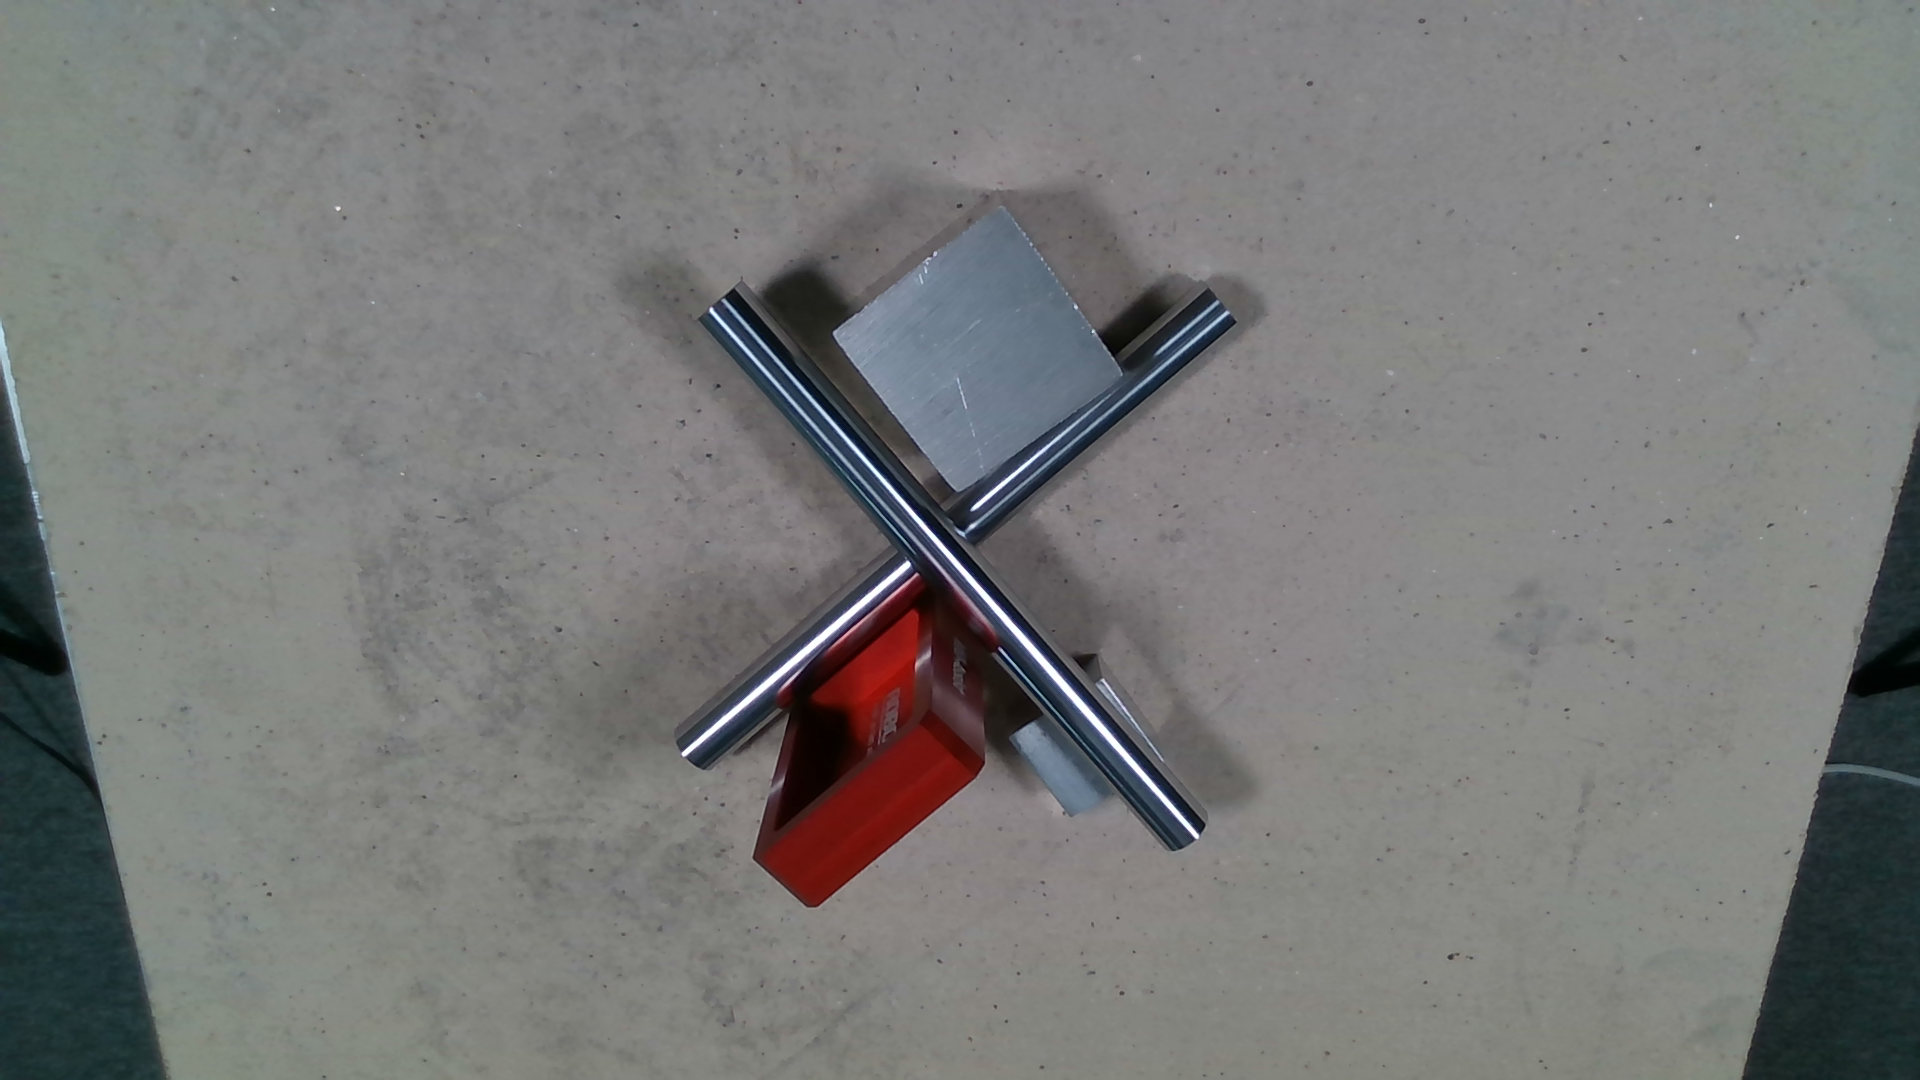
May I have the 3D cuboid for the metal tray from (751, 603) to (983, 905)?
[{"bbox_3d":[-0.034,0.078,0.557,0.090,0.130,0.030,-41,104,13],"label":"metal tray"}]

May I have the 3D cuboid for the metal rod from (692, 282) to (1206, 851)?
[{"bbox_3d":[0.002,0.018,0.564,0.025,0.025,0.300,-38,106,13],"label":"metal rod"}]

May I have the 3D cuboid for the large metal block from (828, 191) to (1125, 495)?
[{"bbox_3d":[0.006,-0.079,0.541,0.080,0.050,0.080,-35,106,12],"label":"large metal block"}]

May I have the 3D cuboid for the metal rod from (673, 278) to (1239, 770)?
[{"bbox_3d":[-0.008,-0.001,0.585,0.300,0.025,0.025,-40,105,13],"label":"metal rod"}]

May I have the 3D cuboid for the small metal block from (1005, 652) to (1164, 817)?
[{"bbox_3d":[0.056,0.087,0.617,0.050,0.025,0.050,-34,107,12],"label":"small metal block"}]
